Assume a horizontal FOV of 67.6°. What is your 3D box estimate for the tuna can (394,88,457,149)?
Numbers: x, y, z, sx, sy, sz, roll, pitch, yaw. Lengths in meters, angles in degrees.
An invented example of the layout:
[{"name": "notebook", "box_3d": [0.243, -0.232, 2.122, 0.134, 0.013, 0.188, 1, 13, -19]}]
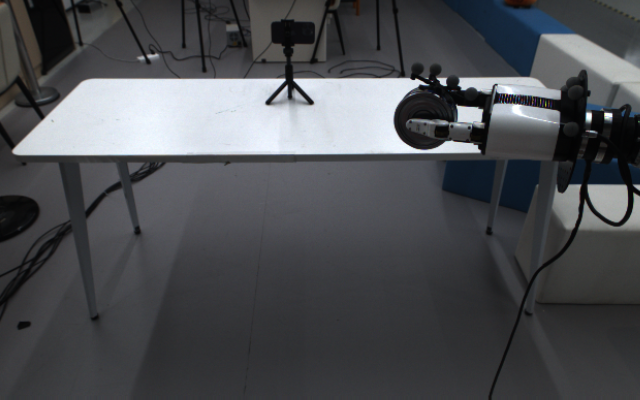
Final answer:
[{"name": "tuna can", "box_3d": [0.153, -0.110, 0.685, 0.085, 0.085, 0.034, 15, 31, 18]}]
